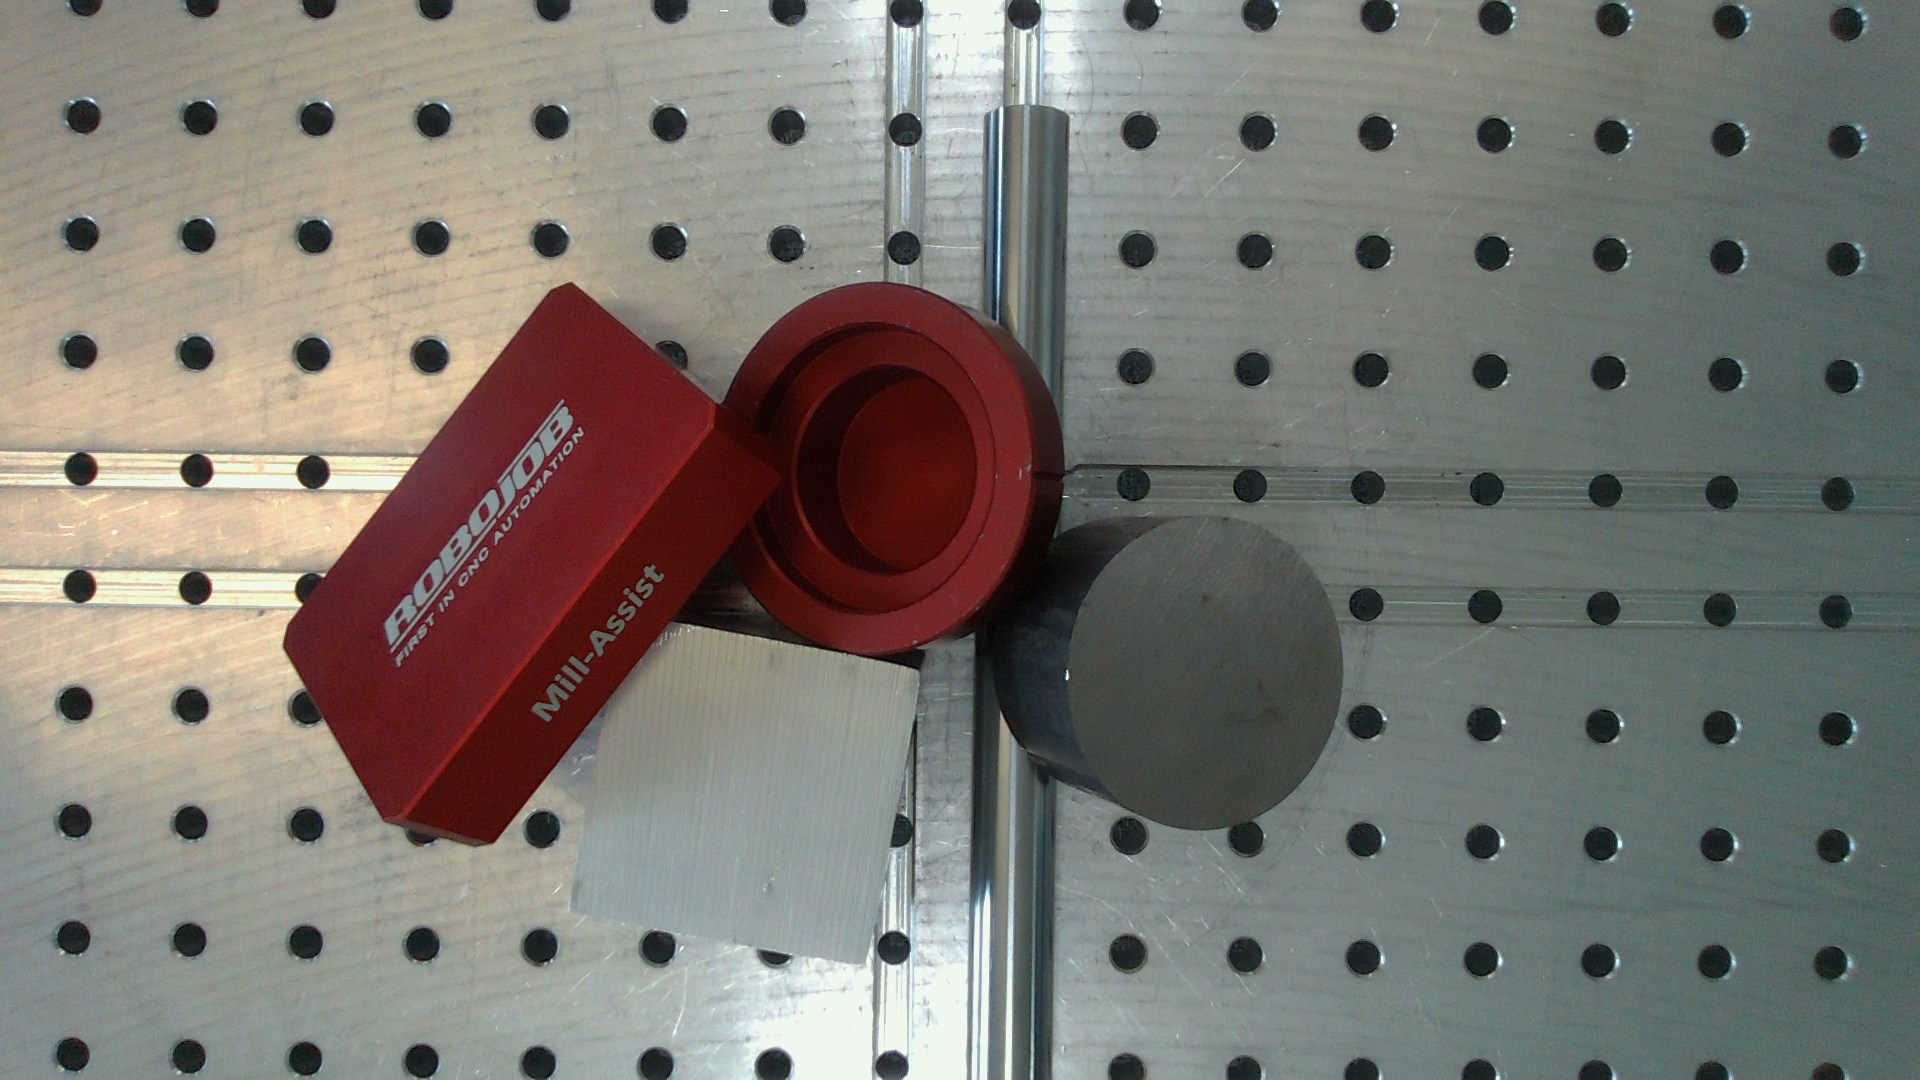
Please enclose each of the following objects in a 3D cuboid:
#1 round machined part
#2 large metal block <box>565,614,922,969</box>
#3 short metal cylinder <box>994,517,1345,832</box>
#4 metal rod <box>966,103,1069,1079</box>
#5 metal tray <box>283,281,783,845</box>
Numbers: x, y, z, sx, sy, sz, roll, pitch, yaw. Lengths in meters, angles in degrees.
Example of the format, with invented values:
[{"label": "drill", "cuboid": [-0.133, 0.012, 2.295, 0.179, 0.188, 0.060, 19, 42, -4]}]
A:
[{"label": "round machined part", "cuboid": [-0.016, -0.019, 0.376, 0.098, 0.042, 0.098, 0, 89, 25]}, {"label": "large metal block", "cuboid": [-0.057, 0.066, 0.385, 0.080, 0.050, 0.080, 10, 90, 0]}, {"label": "short metal cylinder", "cuboid": [0.055, 0.034, 0.372, 0.080, 0.050, 0.080, 0, 90, -20]}, {"label": "metal rod", "cuboid": [0.017, 0.028, 0.398, 0.025, 0.025, 0.300, 1, 90, 0]}, {"label": "metal tray", "cuboid": [-0.117, 0.004, 0.370, 0.130, 0.030, 0.090, -52, 52, 0]}]
